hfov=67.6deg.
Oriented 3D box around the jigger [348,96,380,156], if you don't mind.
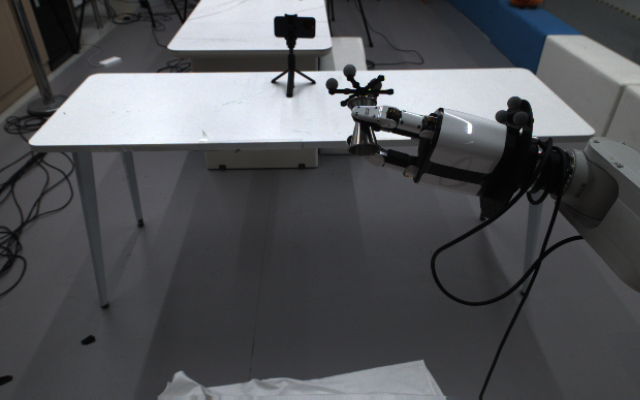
[{"bbox_3d":[0.057,-0.100,0.639,0.043,0.043,0.071,0,75,-3],"label":"jigger"}]
